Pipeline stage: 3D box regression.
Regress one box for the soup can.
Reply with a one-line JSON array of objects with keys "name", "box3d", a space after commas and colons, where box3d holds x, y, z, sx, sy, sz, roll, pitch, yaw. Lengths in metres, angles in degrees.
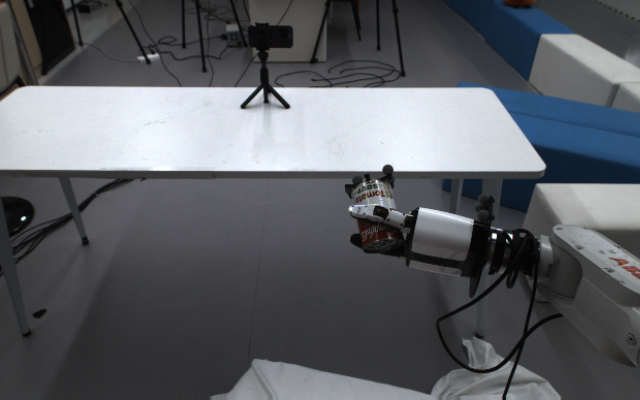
[{"name": "soup can", "box3d": [0.093, 0.026, 0.775, 0.067, 0.067, 0.101, -6, 68, -12]}]
